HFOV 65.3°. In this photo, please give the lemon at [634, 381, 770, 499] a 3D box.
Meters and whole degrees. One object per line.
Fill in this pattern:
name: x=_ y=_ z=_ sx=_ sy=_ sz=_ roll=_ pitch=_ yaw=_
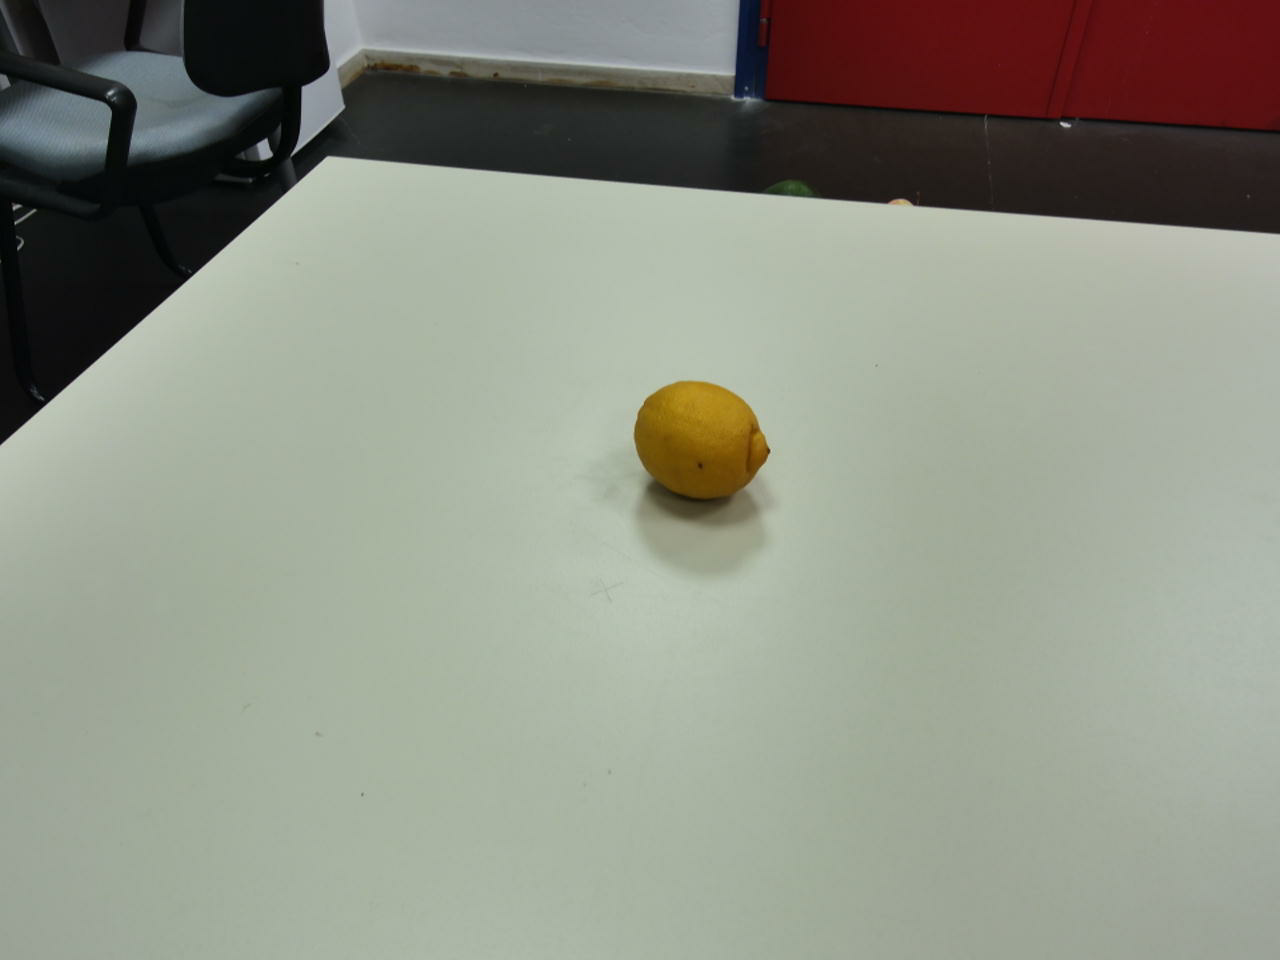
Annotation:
lemon: x=0.031 y=-0.020 z=0.519 sx=0.060 sy=0.059 sz=0.067 roll=-23 pitch=44 yaw=-26
